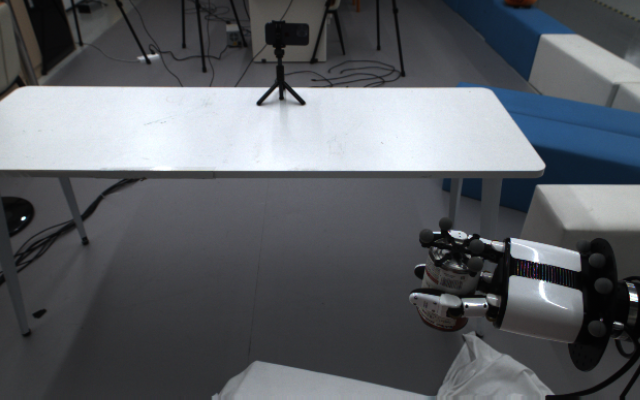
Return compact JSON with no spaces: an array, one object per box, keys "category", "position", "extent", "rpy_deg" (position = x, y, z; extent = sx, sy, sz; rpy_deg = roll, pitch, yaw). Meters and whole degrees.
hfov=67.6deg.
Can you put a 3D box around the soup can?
[{"category":"soup can","position":[0.166,0.107,0.616],"extent":[0.067,0.101,0.067],"rpy_deg":[2,32,-1]}]
